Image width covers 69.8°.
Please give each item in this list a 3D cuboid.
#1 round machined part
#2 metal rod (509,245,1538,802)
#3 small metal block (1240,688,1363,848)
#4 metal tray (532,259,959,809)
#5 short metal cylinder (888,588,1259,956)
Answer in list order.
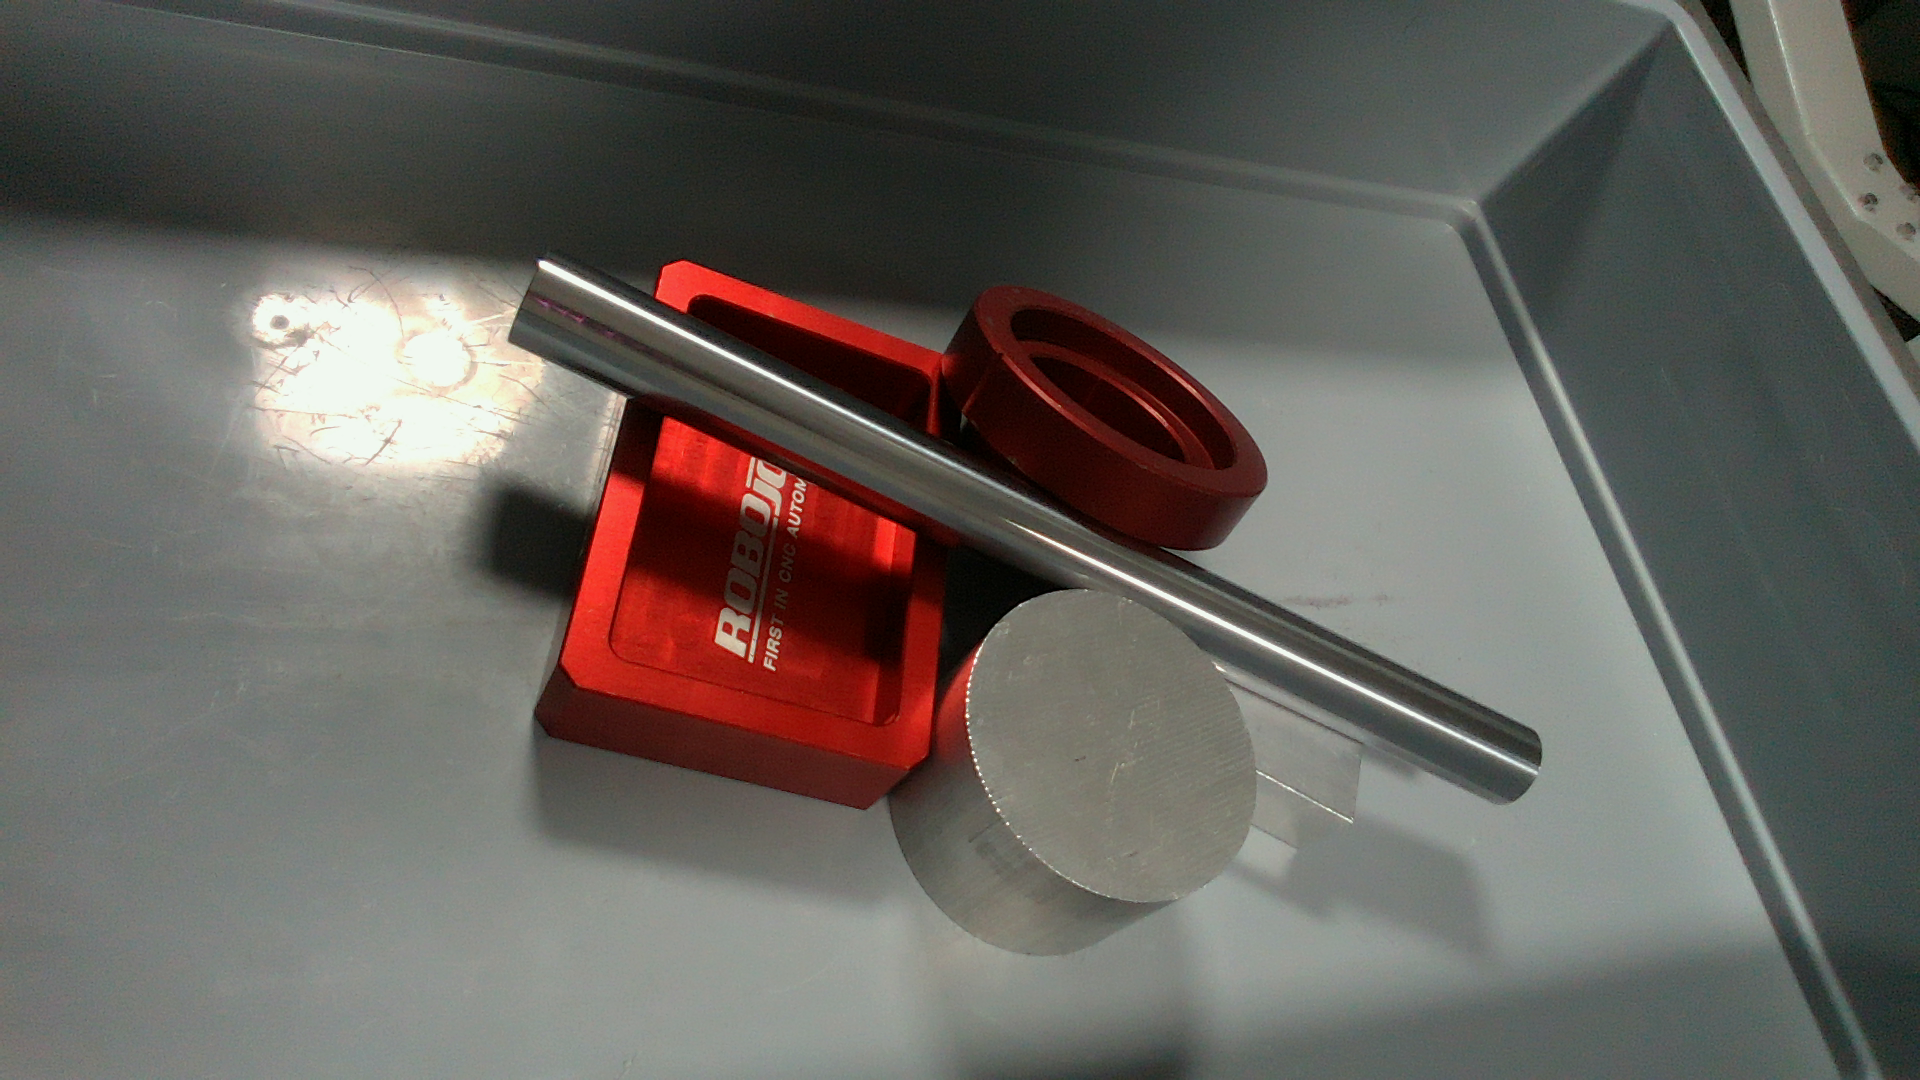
[{"bbox_3d":[0.037,-0.029,0.399,0.098,0.042,0.098,26,27,-14],"label":"round machined part"},{"bbox_3d":[0.030,0.004,0.365,0.301,0.025,0.025,25,53,-16],"label":"metal rod"},{"bbox_3d":[0.090,0.054,0.403,0.050,0.025,0.050,28,52,-11],"label":"small metal block"},{"bbox_3d":[-0.050,-0.004,0.359,0.090,0.030,0.130,17,55,-18],"label":"metal tray"},{"bbox_3d":[0.028,0.059,0.350,0.080,0.050,0.080,14,56,-21],"label":"short metal cylinder"}]
